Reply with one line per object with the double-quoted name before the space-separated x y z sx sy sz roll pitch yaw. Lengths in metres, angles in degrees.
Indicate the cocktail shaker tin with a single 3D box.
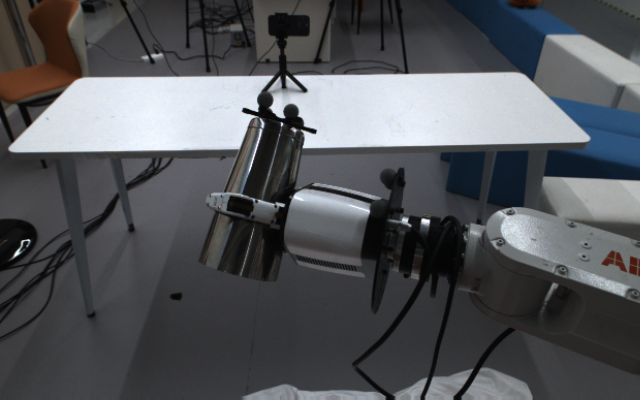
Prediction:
"cocktail shaker tin" -0.070 -0.001 0.554 0.093 0.170 0.093 15 -4 1
